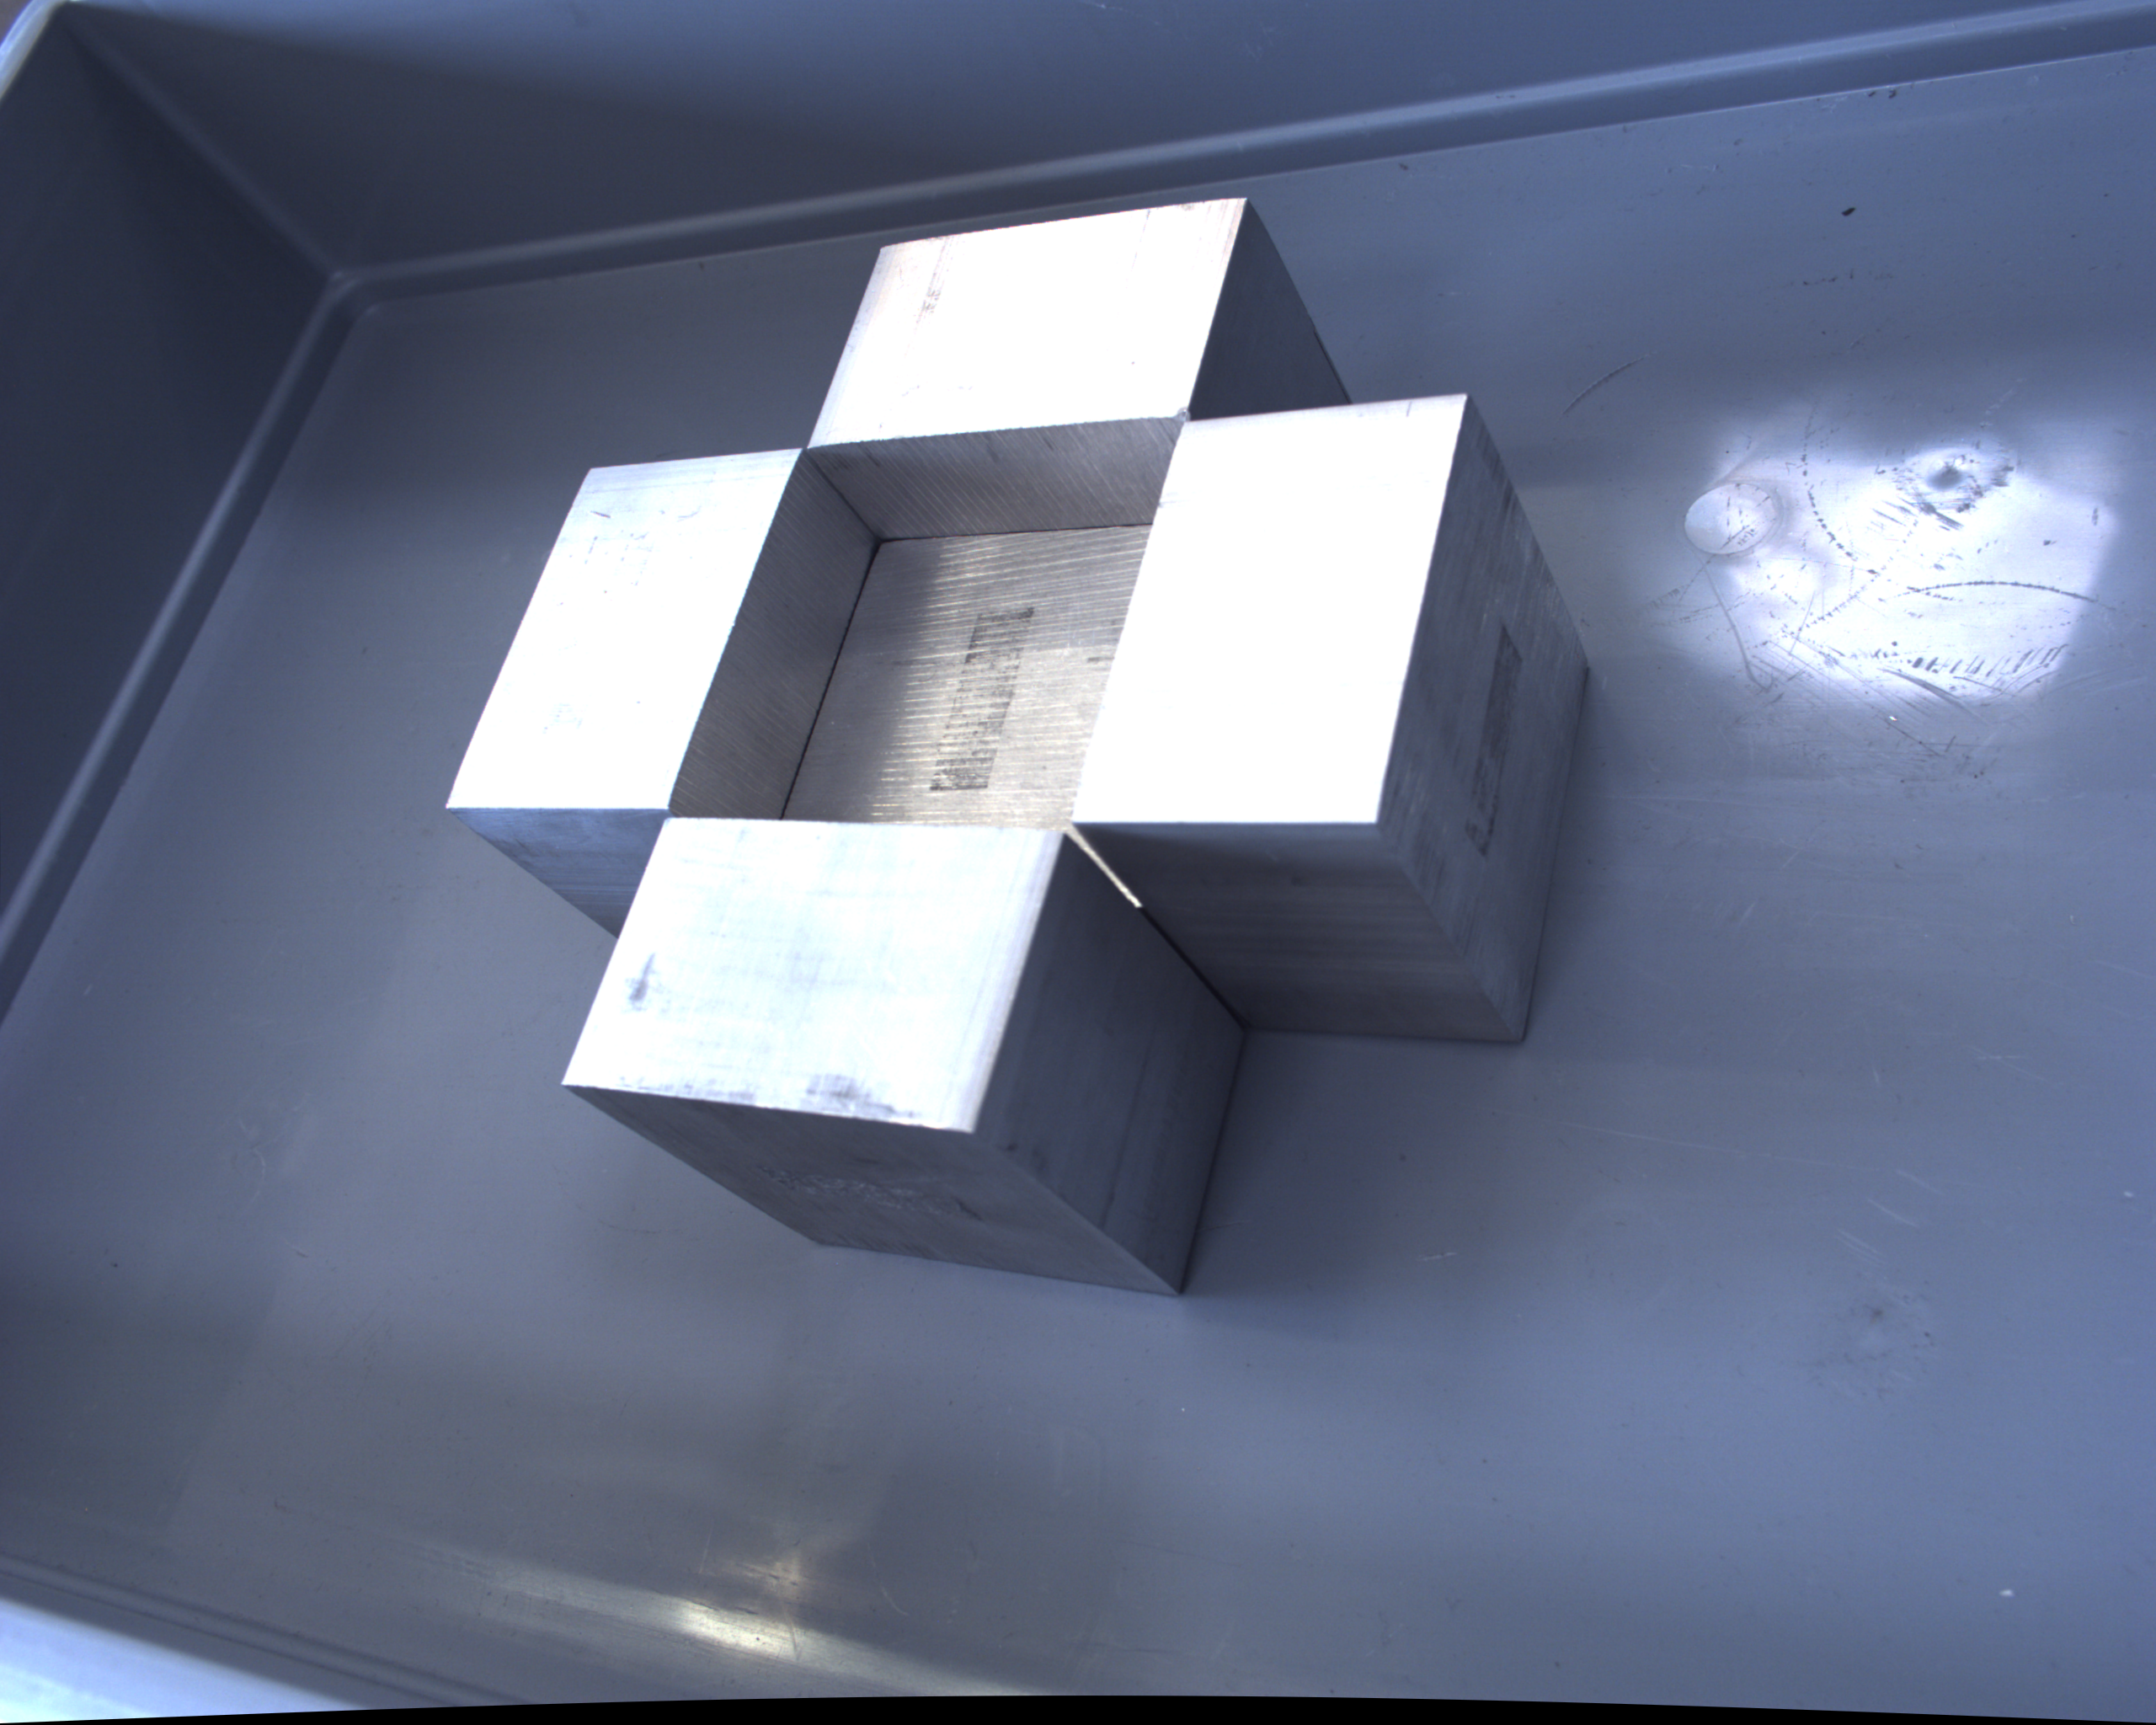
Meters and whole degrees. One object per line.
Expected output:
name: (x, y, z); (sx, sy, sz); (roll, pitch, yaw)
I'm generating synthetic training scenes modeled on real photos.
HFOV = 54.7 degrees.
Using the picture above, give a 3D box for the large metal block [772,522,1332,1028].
large metal block: (-0.004, -0.017, 0.399); (0.080, 0.050, 0.080); (1, 62, 28)

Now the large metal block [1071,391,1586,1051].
large metal block: (0.047, -0.022, 0.358); (0.050, 0.080, 0.080); (1, 62, 29)

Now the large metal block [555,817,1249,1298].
large metal block: (-0.027, 0.034, 0.362); (0.080, 0.080, 0.050); (2, 63, 29)

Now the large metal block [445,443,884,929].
large metal block: (-0.069, -0.026, 0.422); (0.050, 0.080, 0.080); (1, 62, 29)

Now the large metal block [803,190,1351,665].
large metal block: (0.006, -0.081, 0.415); (0.080, 0.080, 0.050); (1, 62, 28)
